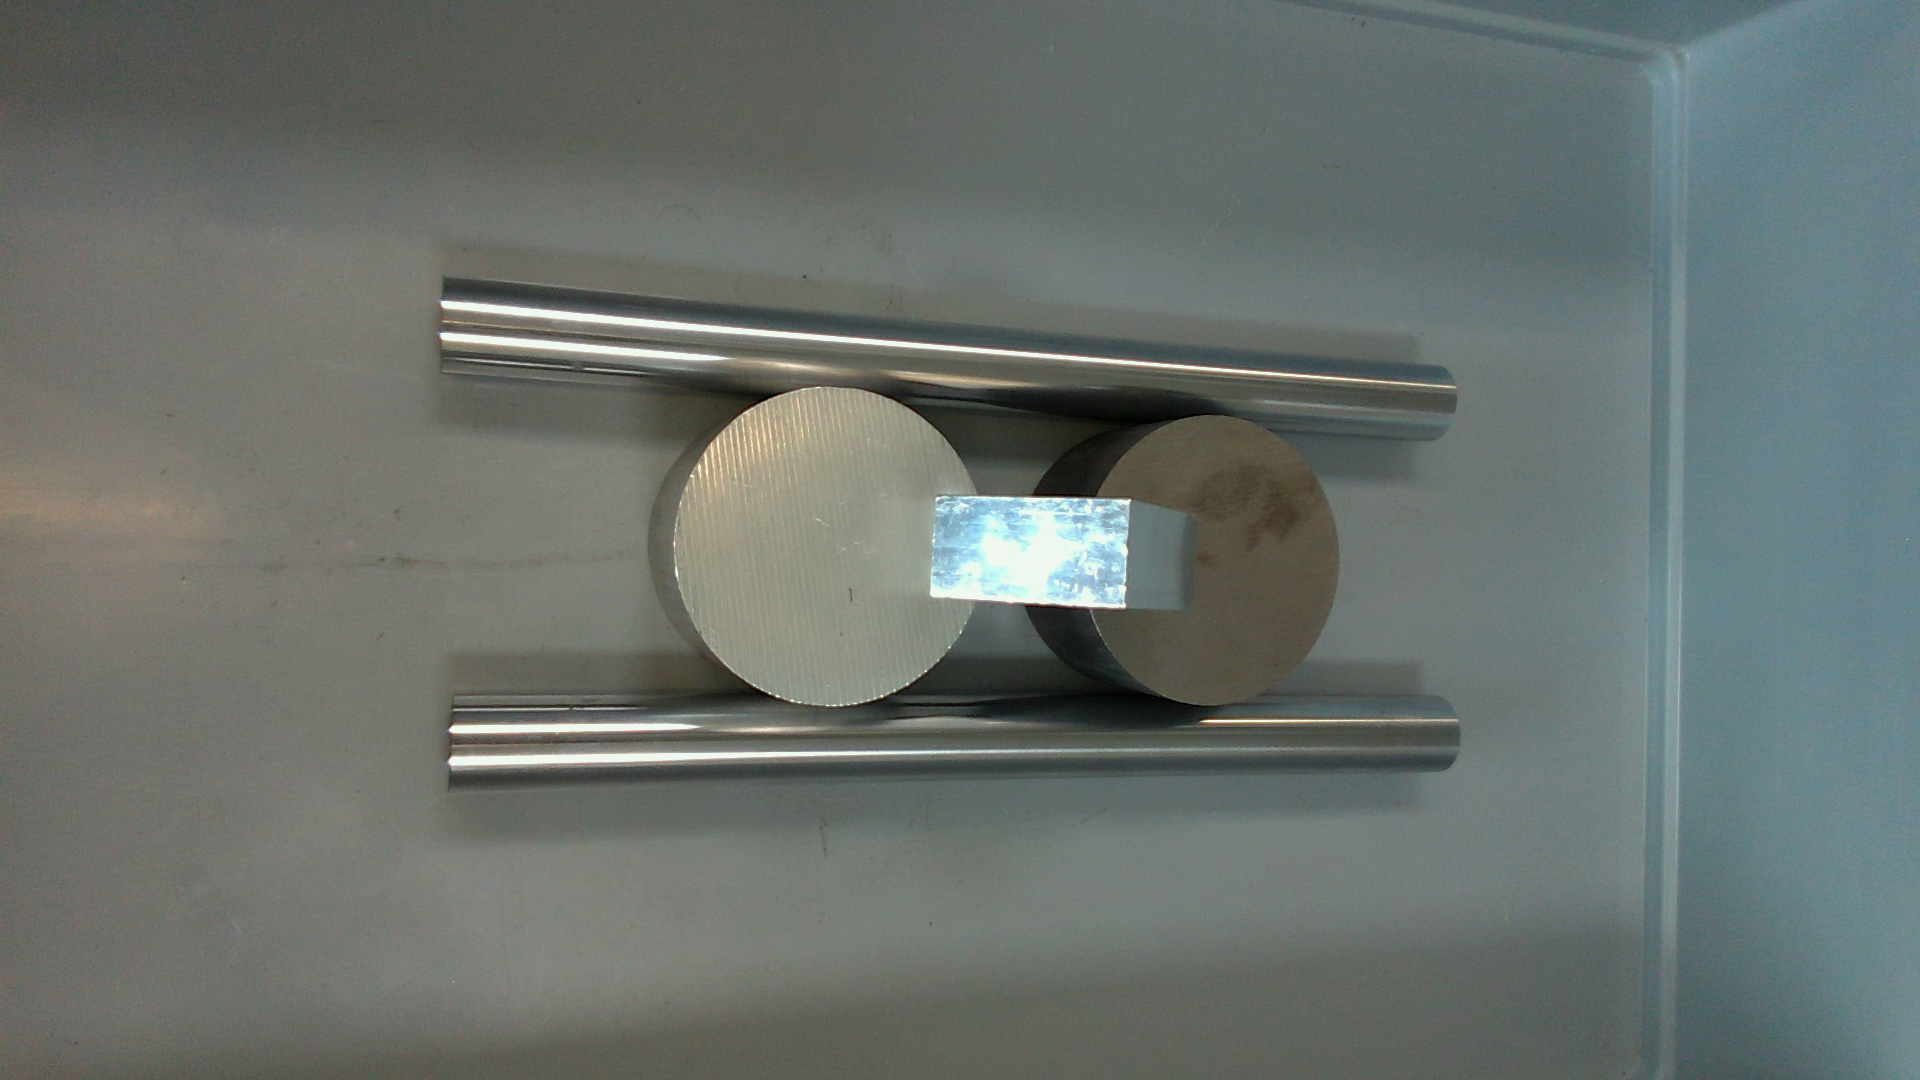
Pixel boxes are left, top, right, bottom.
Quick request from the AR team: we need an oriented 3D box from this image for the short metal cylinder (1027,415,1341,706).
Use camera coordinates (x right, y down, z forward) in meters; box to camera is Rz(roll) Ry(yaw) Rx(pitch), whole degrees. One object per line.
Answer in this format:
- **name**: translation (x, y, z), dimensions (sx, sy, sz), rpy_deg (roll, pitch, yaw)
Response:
- **short metal cylinder**: translation (0.063, 0.006, 0.402), dimensions (0.080, 0.050, 0.080), rpy_deg (0, 90, -20)

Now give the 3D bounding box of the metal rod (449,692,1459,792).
- **metal rod**: translation (0.013, 0.057, 0.397), dimensions (0.301, 0.025, 0.025), rpy_deg (2, 89, -20)

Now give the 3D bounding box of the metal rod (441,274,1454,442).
- **metal rod**: translation (0.011, -0.049, 0.396), dimensions (0.301, 0.025, 0.025), rpy_deg (2, 89, -20)

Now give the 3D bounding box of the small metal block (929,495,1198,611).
- **small metal block**: translation (0.027, 0.004, 0.340), dimensions (0.050, 0.050, 0.025), rpy_deg (6, 86, -63)

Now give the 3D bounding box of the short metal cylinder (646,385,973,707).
- **short metal cylinder**: translation (-0.040, 0.001, 0.365), dimensions (0.080, 0.050, 0.080), rpy_deg (0, 90, -20)
